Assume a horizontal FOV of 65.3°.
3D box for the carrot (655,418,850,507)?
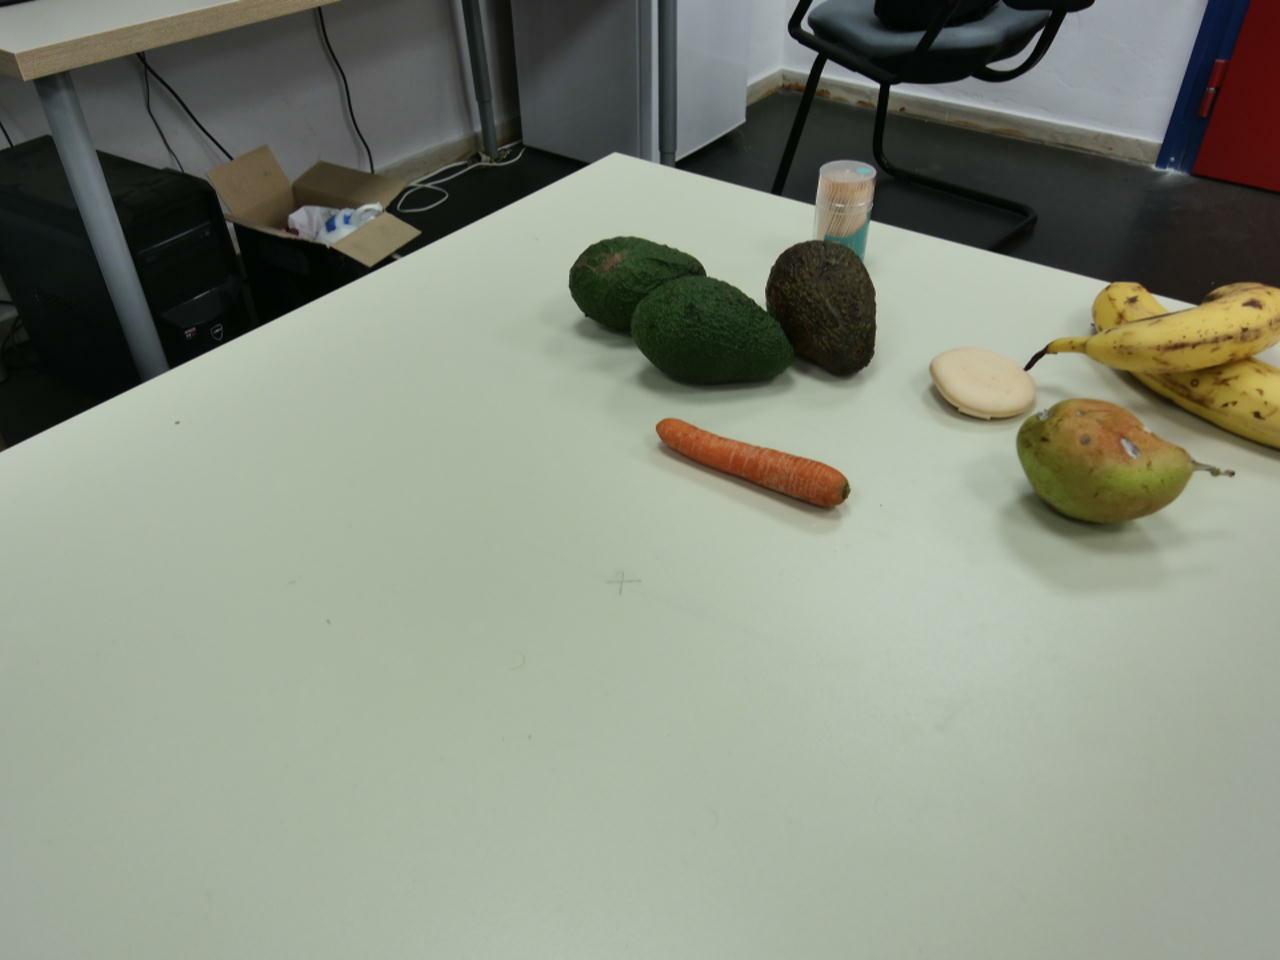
[{"bbox_3d":[0.060,-0.012,0.562,0.122,0.023,0.024,23,43,27],"label":"carrot"}]
